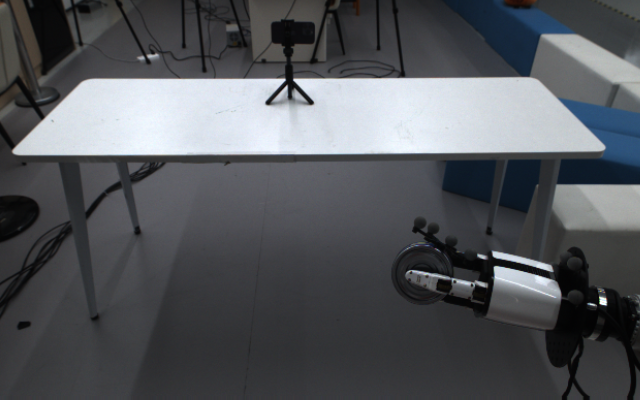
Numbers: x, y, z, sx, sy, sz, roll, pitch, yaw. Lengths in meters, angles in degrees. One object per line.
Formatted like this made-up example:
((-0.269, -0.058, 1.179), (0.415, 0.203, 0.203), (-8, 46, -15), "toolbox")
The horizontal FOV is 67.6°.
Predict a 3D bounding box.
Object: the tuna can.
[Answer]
((0.146, 0.100, 0.678), (0.085, 0.085, 0.034), (13, 4, 15), "tuna can")
